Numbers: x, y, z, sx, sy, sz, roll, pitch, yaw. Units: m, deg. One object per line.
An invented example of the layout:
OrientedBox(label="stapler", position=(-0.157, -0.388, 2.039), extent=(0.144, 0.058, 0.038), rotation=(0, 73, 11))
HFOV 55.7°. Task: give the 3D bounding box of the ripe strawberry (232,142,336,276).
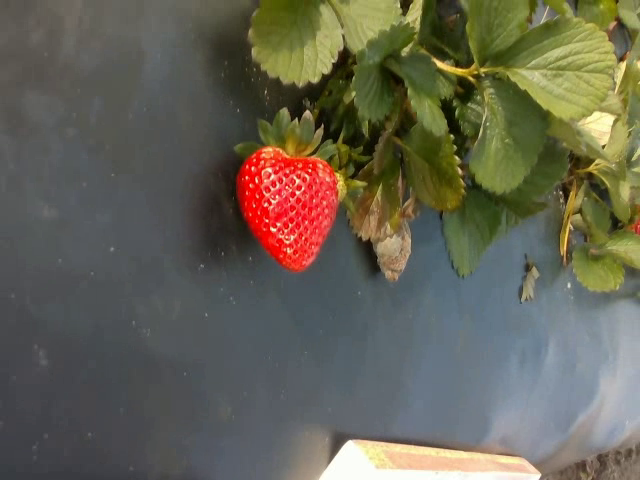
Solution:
OrientedBox(label="ripe strawberry", position=(-0.011, -0.011, 0.227), extent=(0.050, 0.058, 0.045), rotation=(-19, -31, 26))
